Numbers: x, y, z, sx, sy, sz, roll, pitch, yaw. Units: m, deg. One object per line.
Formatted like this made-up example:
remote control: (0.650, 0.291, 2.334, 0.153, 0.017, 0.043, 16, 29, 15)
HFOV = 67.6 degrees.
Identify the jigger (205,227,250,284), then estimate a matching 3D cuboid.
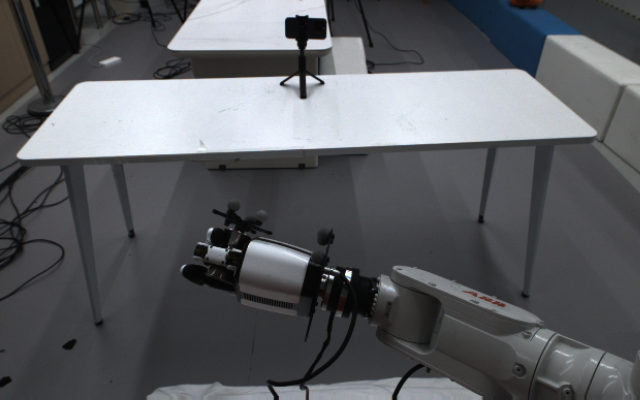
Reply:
jigger: (-0.125, 0.076, 0.663, 0.043, 0.043, 0.071, 15, 70, 18)
